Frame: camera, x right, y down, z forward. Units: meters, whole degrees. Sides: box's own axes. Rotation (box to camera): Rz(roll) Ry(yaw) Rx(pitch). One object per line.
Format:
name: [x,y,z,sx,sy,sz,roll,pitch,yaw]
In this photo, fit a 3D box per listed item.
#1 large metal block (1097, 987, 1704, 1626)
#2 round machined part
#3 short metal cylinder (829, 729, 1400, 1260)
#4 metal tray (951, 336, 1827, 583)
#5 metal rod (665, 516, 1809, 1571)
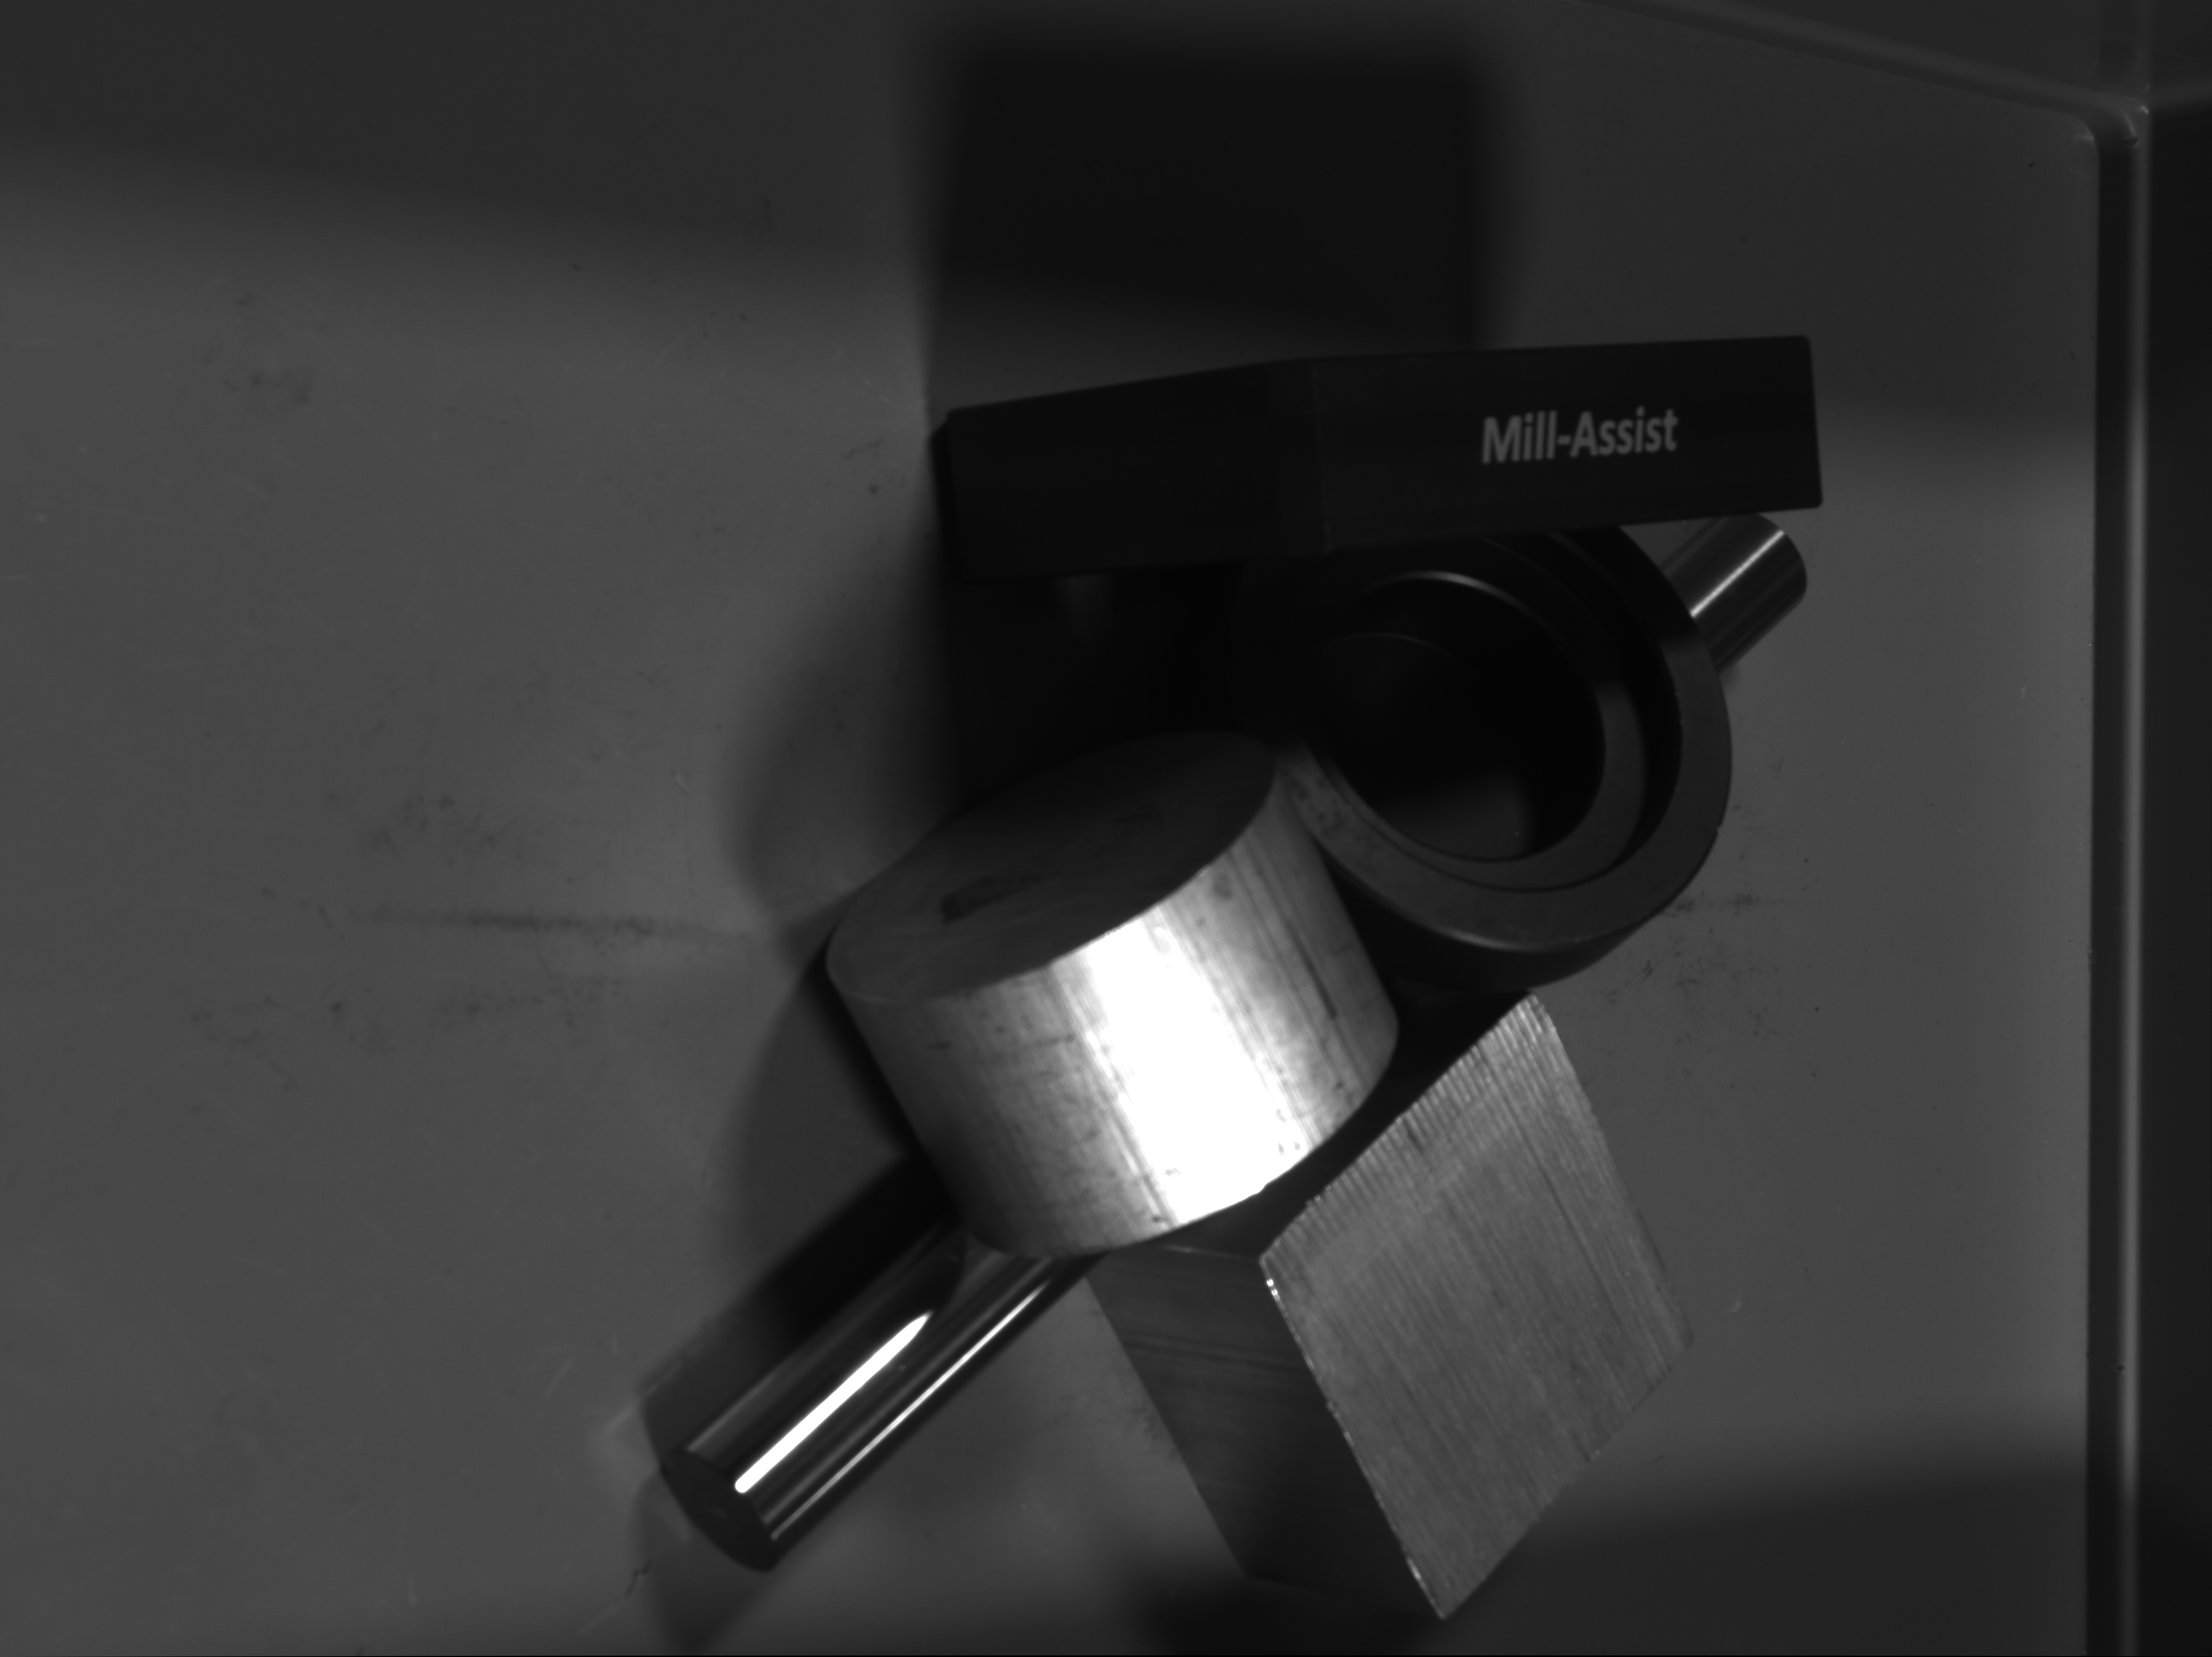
large metal block: [0.052,0.083,0.661,0.080,0.050,0.080,-40,114,-33]
round machined part: [0.060,-0.016,0.657,0.098,0.042,0.098,10,62,-19]
short metal cylinder: [0.002,0.026,0.602,0.080,0.080,0.050,-41,115,-32]
metal tray: [0.050,-0.064,0.634,0.130,0.090,0.030,-8,95,-40]
metal rod: [0.036,0.027,0.665,0.300,0.025,0.025,-40,114,-33]
